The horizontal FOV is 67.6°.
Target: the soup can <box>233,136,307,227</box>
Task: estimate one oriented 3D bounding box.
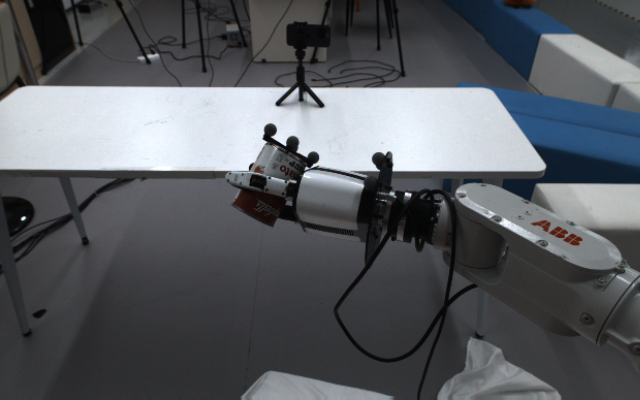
[{"bbox_3d":[-0.071,-0.021,0.679,0.067,0.101,0.067,29,-3,1],"label":"soup can"}]
